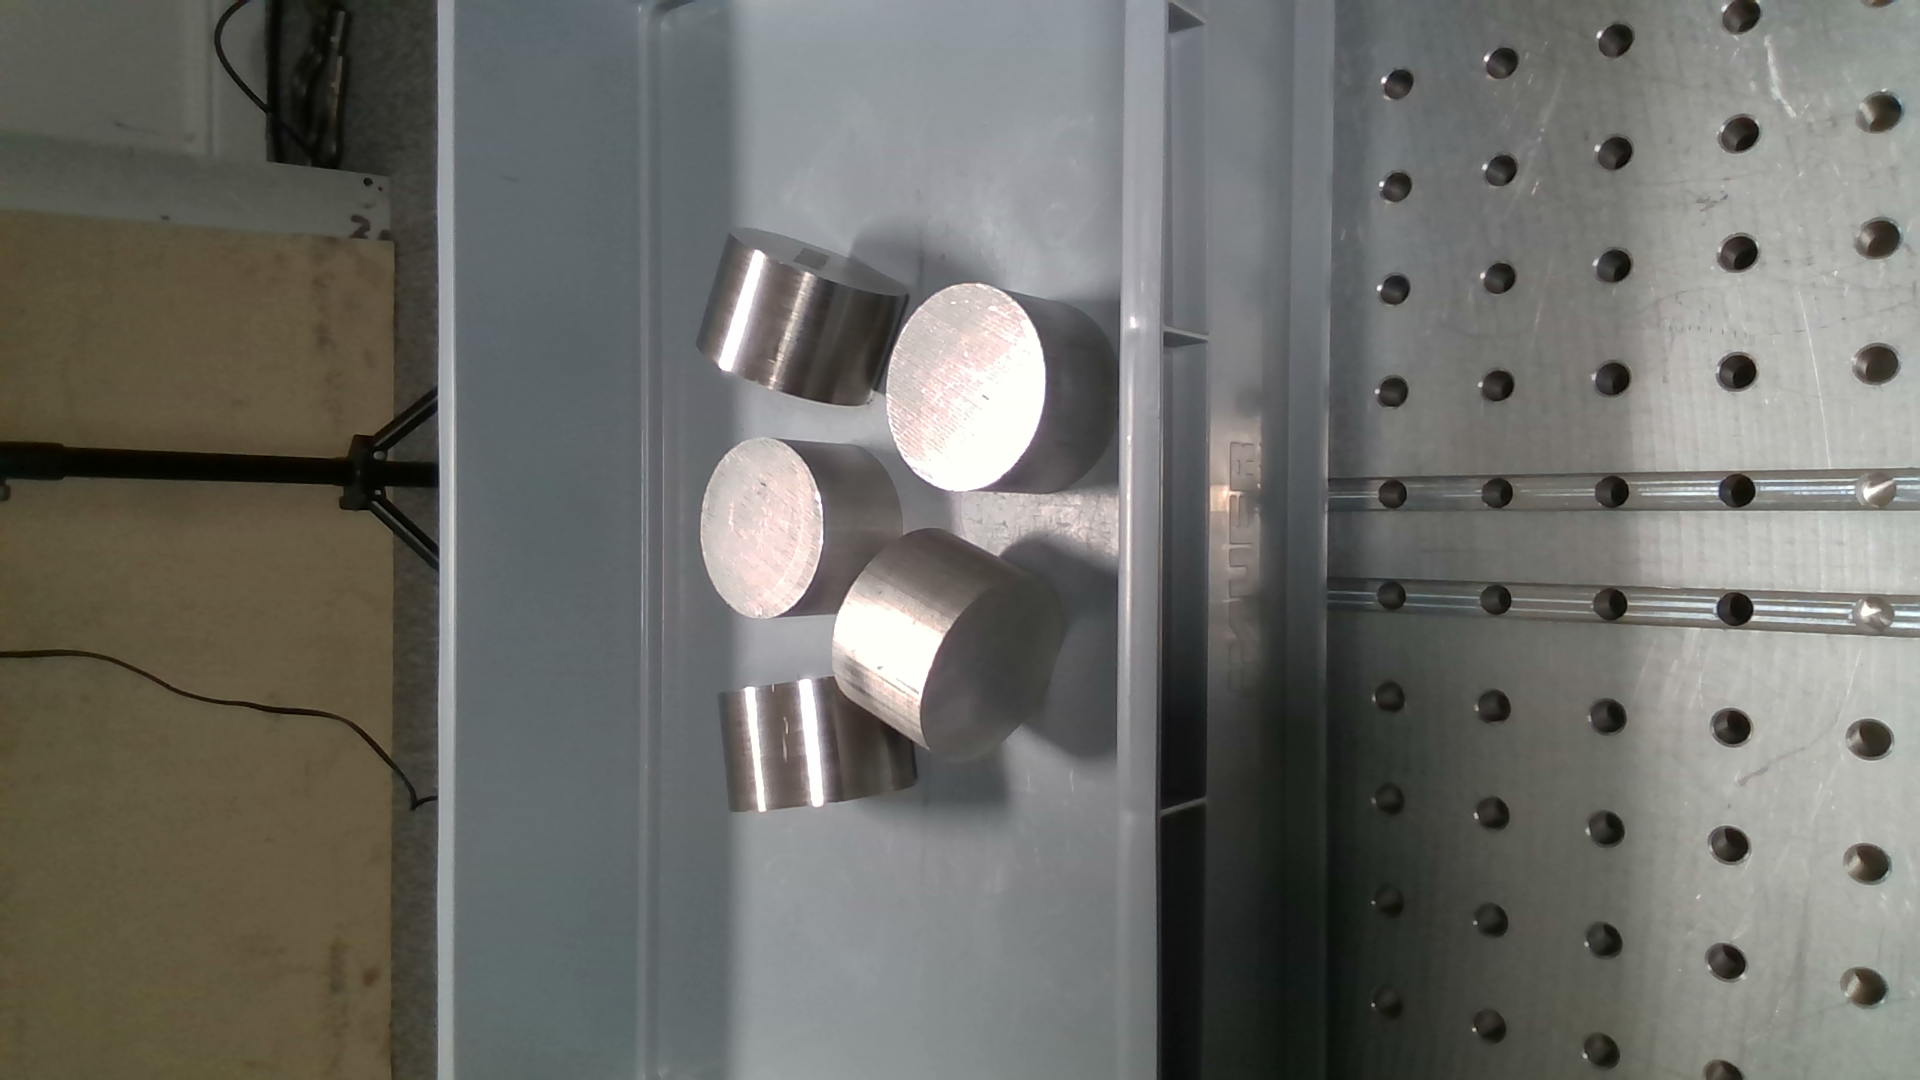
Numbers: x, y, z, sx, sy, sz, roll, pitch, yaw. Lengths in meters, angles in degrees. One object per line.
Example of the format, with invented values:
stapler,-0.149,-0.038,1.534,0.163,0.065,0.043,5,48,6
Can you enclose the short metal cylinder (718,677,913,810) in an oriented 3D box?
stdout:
short metal cylinder,-0.063,0.086,0.599,0.080,0.080,0.050,-12,83,40

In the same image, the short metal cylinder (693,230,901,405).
short metal cylinder,-0.071,-0.098,0.602,0.080,0.080,0.050,34,111,35

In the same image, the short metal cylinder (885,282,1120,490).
short metal cylinder,0.016,-0.059,0.549,0.080,0.050,0.080,0,91,40

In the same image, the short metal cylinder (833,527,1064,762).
short metal cylinder,-0.004,0.041,0.550,0.050,0.080,0.080,27,108,37

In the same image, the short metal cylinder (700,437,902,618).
short metal cylinder,-0.073,-0.006,0.625,0.080,0.050,0.080,0,91,40
